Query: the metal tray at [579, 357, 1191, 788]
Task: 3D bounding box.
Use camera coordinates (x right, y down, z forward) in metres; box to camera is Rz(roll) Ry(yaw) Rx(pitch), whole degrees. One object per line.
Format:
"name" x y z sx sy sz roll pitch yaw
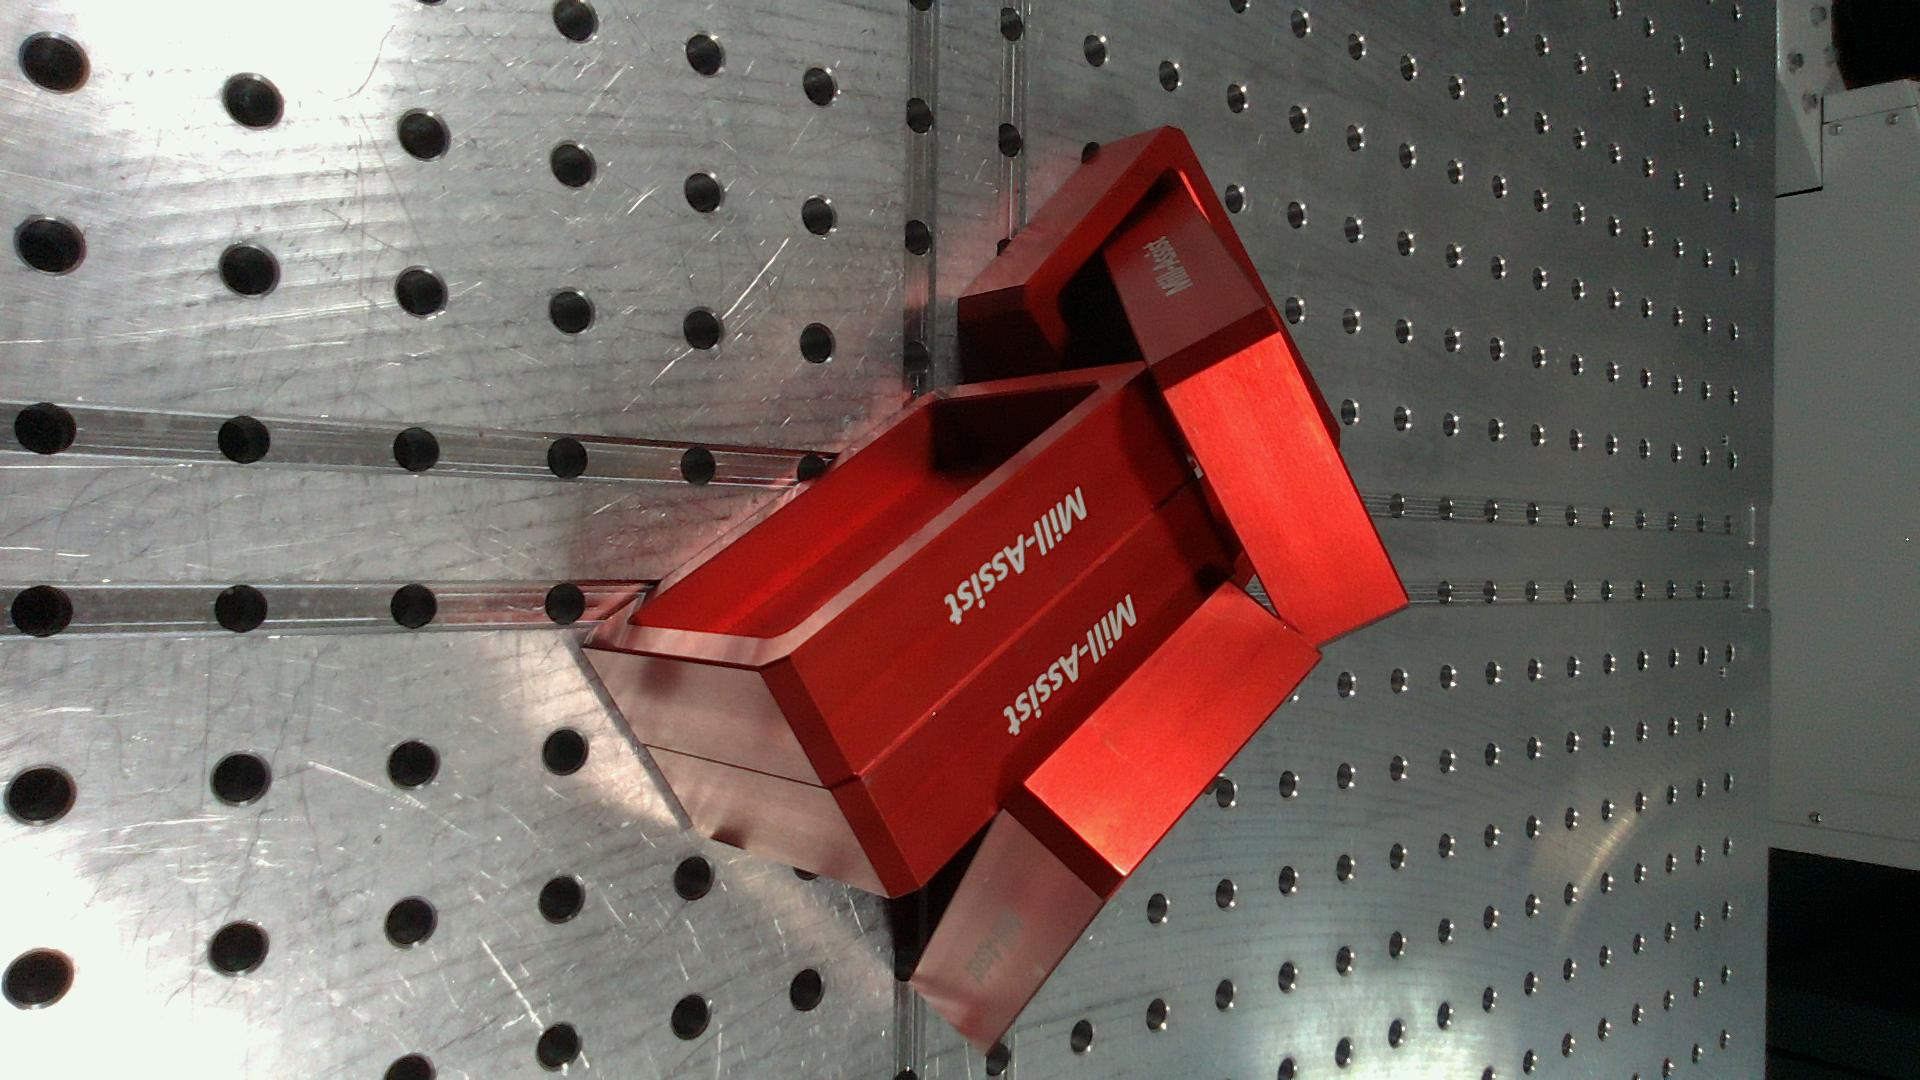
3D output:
"metal tray" -0.017 0.003 0.335 0.130 0.090 0.030 -40 114 -33

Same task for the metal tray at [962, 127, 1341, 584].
"metal tray" 0.067 -0.052 0.442 0.090 0.030 0.130 -51 120 -28

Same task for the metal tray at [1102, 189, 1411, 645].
"metal tray" 0.077 -0.039 0.383 0.090 0.030 0.130 58 13 -24

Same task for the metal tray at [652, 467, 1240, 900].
"metal tray" -0.002 0.028 0.346 0.130 0.090 0.030 -40 114 -33

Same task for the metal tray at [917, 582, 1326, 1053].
"metal tray" 0.038 0.077 0.364 0.030 0.130 0.090 41 56 15
